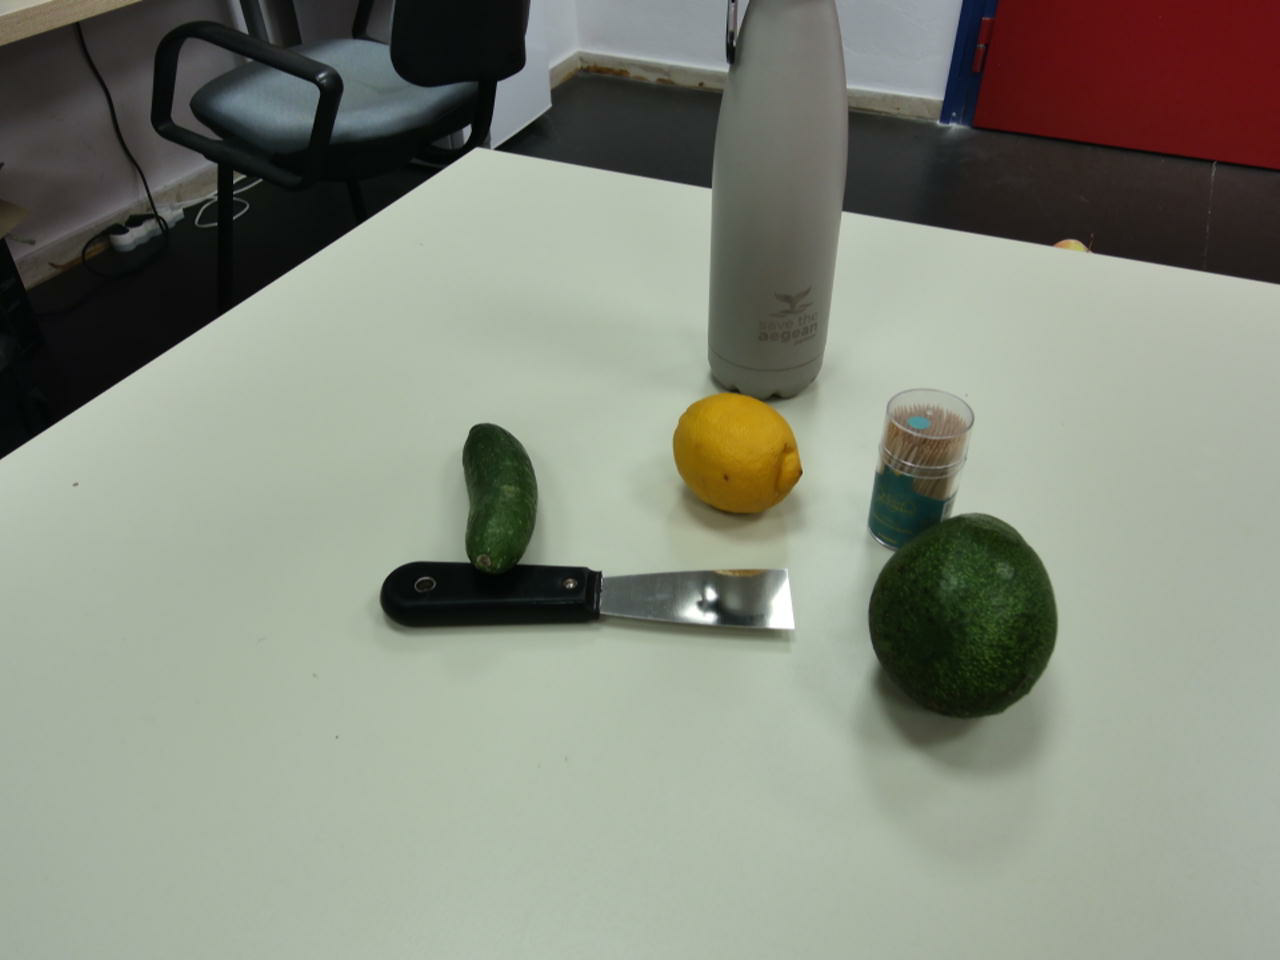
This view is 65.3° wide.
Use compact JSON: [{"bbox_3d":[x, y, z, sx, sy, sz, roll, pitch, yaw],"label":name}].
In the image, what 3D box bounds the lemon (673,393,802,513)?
[{"bbox_3d":[0.050,-0.013,0.520,0.061,0.059,0.067,-14,40,-17],"label":"lemon"}]
